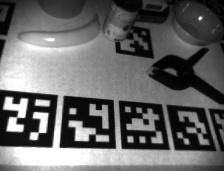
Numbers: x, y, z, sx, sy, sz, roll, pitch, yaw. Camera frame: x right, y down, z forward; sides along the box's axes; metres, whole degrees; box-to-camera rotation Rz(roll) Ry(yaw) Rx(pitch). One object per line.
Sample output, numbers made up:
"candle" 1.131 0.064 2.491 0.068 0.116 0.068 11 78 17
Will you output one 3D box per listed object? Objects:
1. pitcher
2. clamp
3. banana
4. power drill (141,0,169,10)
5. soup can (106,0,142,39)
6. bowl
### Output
"pitcher" -0.076 -0.266 0.444 0.190 0.242 0.132 -20 66 -25
"clamp" 0.190 -0.043 0.521 0.204 0.036 0.164 2 66 -17
"banana" -0.098 -0.118 0.479 0.199 0.039 0.073 -20 62 -28
"power drill" 0.150 -0.277 0.533 0.186 0.186 0.057 -1 62 -18
"soup can" 0.027 -0.170 0.508 0.068 0.102 0.067 9 52 -10
"bowl" 0.239 -0.179 0.607 0.163 0.055 0.161 8 62 -13
